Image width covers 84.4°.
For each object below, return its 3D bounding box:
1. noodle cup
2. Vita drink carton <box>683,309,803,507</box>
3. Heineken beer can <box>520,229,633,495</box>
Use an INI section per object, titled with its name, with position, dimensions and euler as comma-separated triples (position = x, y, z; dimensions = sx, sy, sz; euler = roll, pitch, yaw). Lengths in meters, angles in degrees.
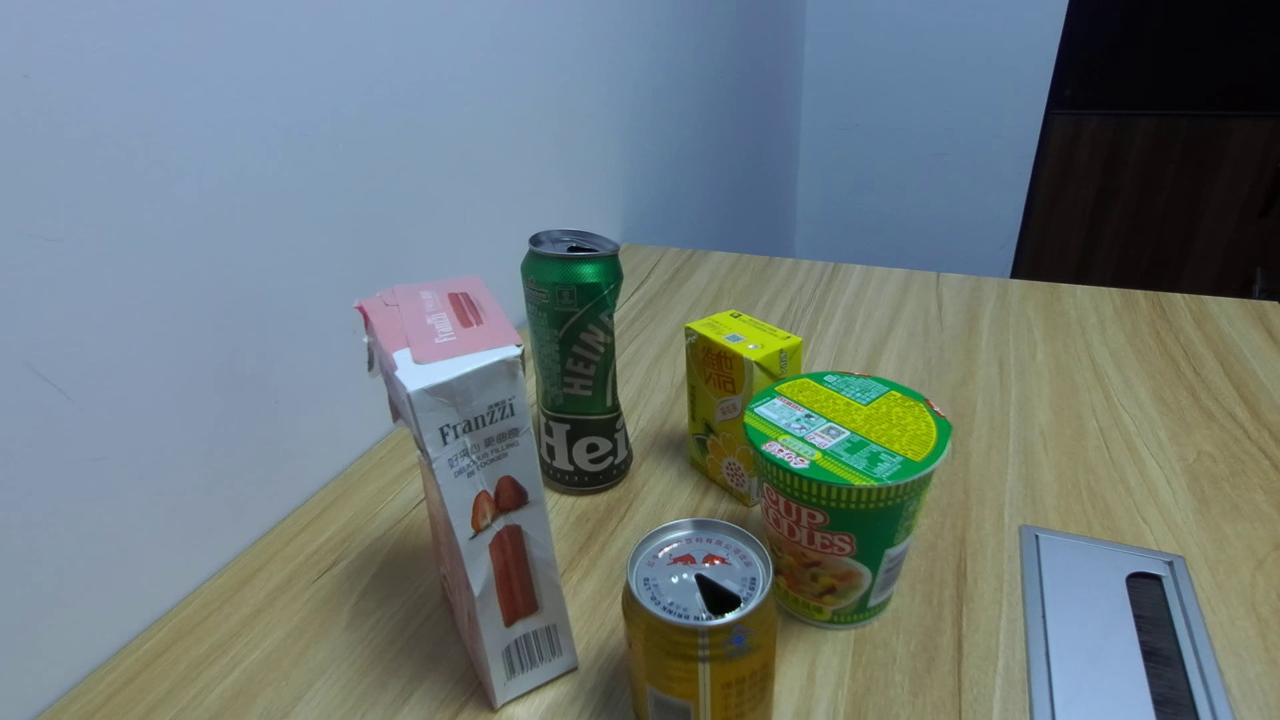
[noodle cup]
position = 0.102, 0.077, 0.368
dimensions = 0.097, 0.110, 0.097
euler = -3, 28, 2
[Vita drink carton]
position = 0.063, 0.029, 0.456
dimensions = 0.043, 0.109, 0.076
euler = -18, 31, -28
[Heineken beer can]
position = -0.038, 0.003, 0.461
dimensions = 0.069, 0.168, 0.068
euler = 10, 29, 19
